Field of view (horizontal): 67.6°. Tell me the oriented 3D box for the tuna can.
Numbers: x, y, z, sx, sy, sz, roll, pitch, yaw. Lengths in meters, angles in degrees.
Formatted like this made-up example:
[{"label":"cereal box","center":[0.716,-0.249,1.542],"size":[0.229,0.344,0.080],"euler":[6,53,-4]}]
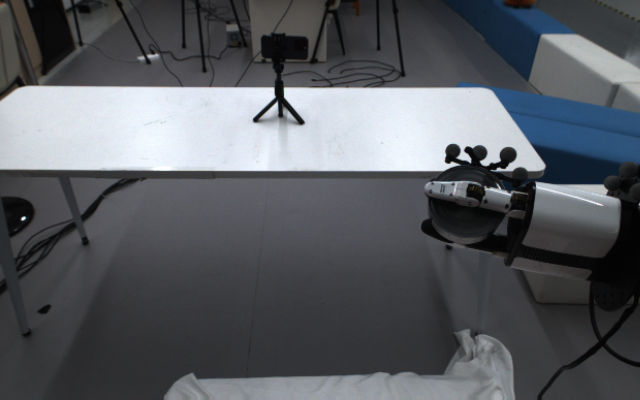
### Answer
[{"label":"tuna can","center":[0.167,0.002,0.550],"size":[0.085,0.034,0.085],"euler":[-4,66,10]}]
